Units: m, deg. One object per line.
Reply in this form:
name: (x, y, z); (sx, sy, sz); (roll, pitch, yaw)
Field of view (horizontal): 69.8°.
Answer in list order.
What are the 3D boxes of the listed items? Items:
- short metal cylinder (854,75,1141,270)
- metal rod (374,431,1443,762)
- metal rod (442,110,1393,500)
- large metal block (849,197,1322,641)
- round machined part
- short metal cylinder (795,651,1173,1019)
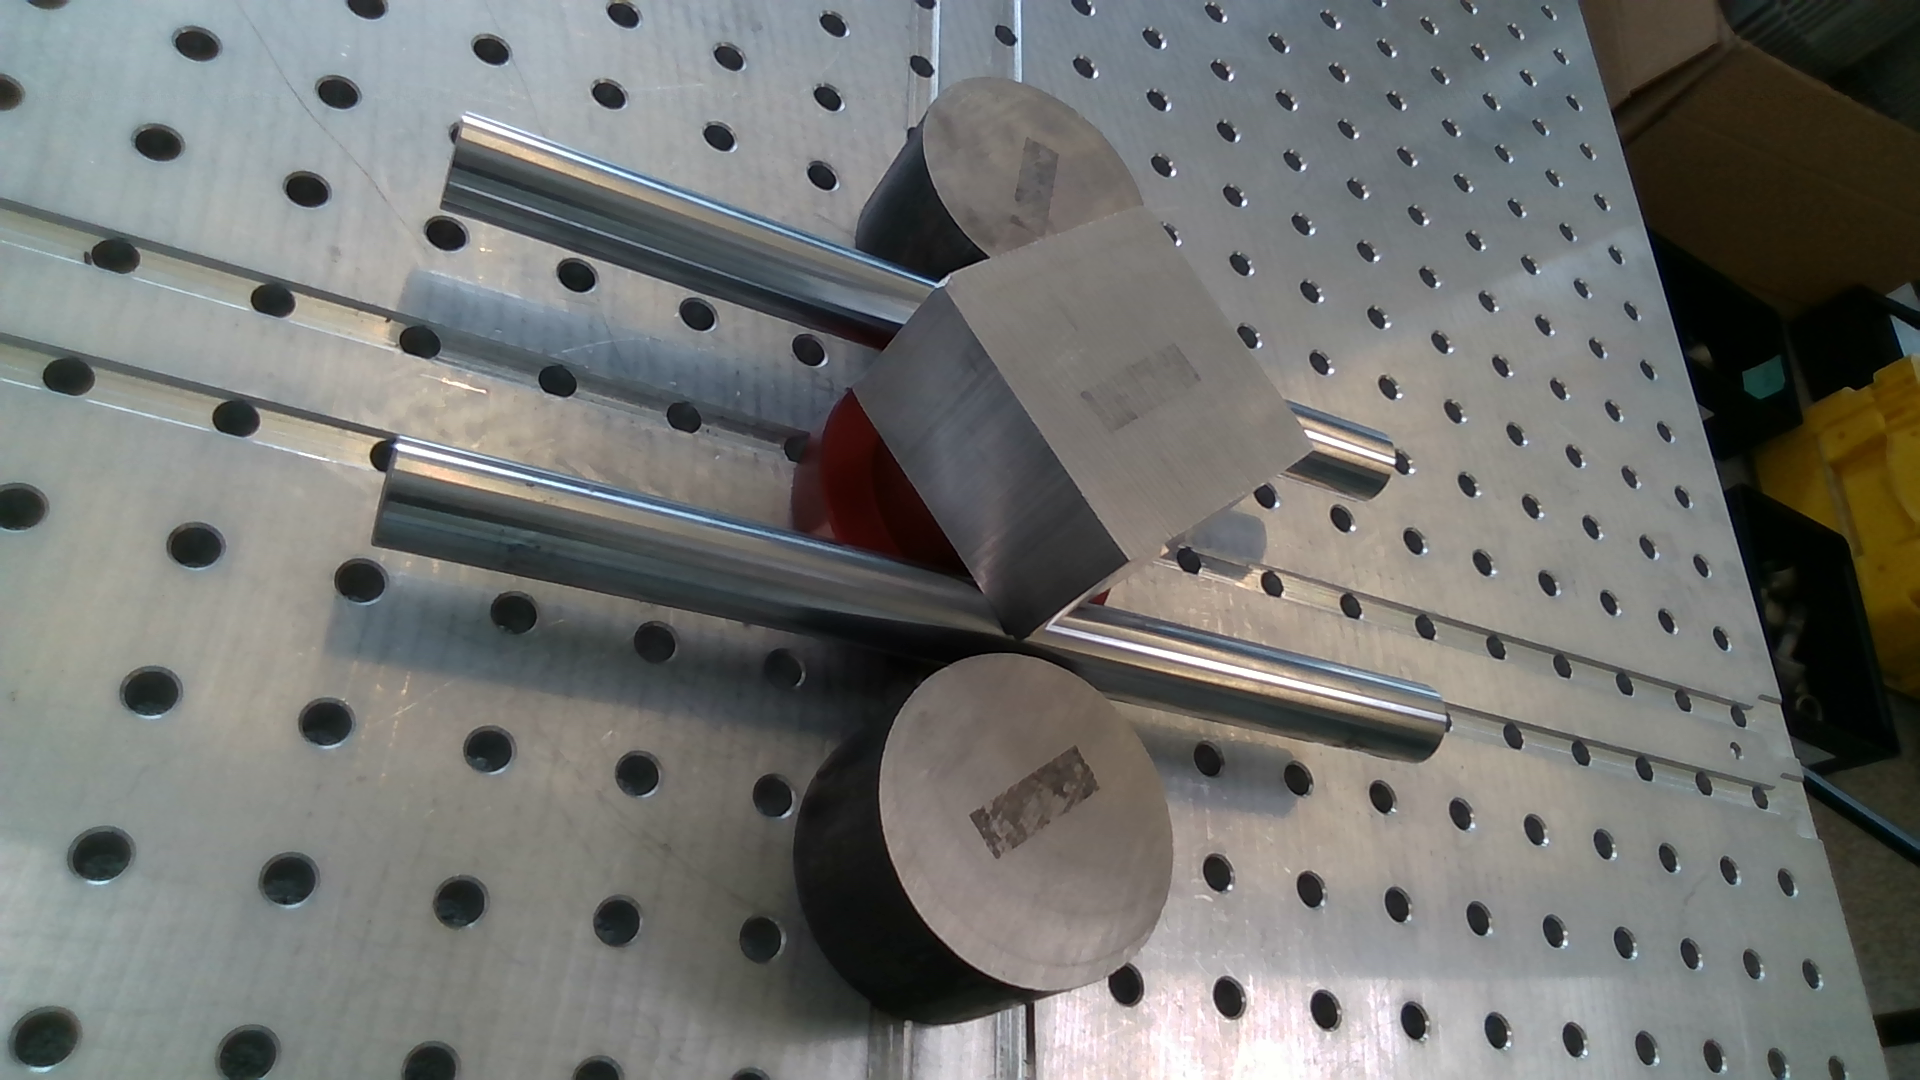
short metal cylinder: (0.013, -0.100, 0.441); (0.080, 0.050, 0.080); (14, 59, -25)
metal rod: (0.008, 0.022, 0.362); (0.300, 0.025, 0.025); (14, 59, -25)
metal rod: (0.006, -0.060, 0.405); (0.300, 0.025, 0.025); (15, 58, -25)
large metal block: (0.033, -0.033, 0.357); (0.080, 0.050, 0.080); (-28, 82, -39)
round machined part: (0.005, -0.012, 0.396); (0.098, 0.042, 0.098); (14, 59, -25)
short metal cylinder: (0.006, 0.074, 0.343); (0.080, 0.050, 0.080); (14, 59, -25)
